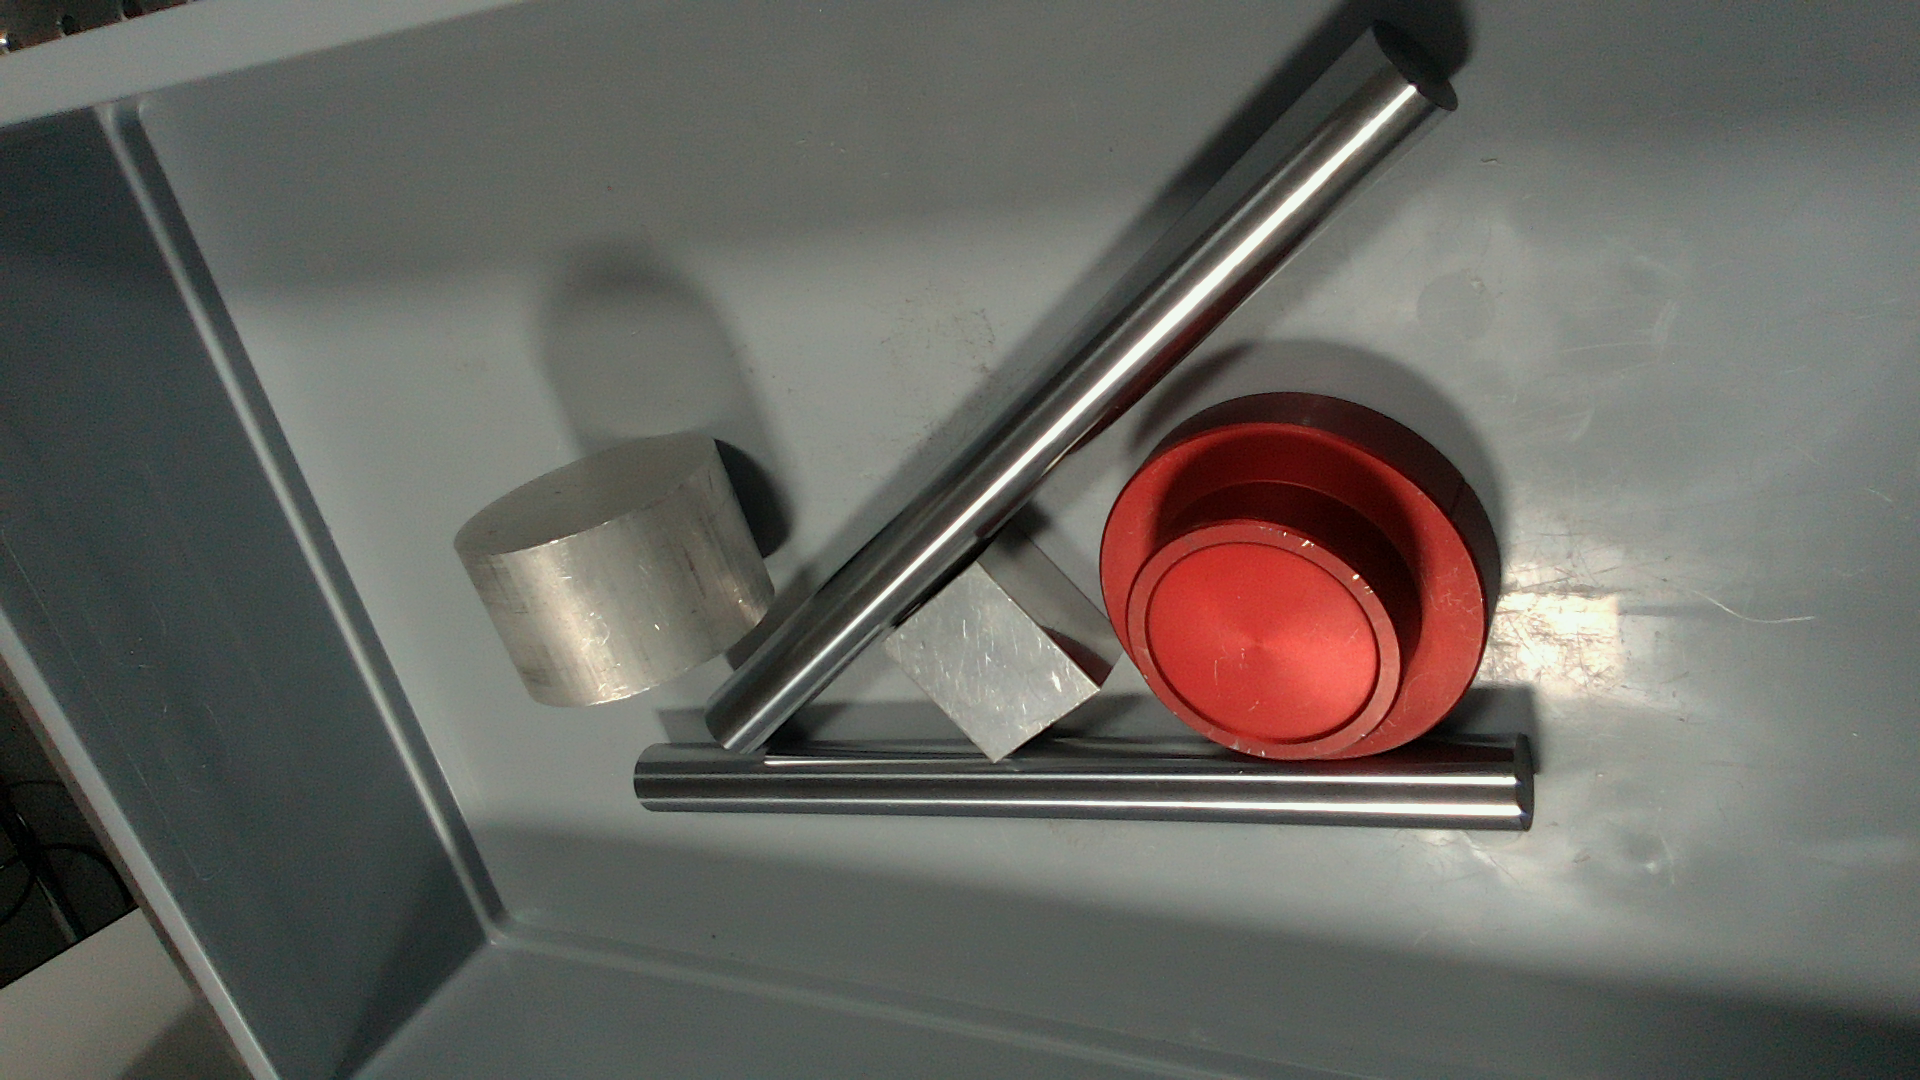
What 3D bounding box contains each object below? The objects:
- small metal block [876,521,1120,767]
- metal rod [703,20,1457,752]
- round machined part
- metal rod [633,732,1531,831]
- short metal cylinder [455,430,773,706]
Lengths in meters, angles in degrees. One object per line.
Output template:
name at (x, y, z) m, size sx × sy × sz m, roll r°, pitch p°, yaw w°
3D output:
small metal block at (0.012, 0.031, 0.403) m, size 0.050 × 0.025 × 0.050 m, roll 46°, pitch 129°, yaw -4°
metal rod at (0.008, -0.018, 0.376) m, size 0.025 × 0.025 × 0.299 m, roll 45°, pitch 129°, yaw -3°
round machined part at (0.080, 0.016, 0.346) m, size 0.098 × 0.042 × 0.098 m, roll 13°, pitch 124°, yaw 21°
metal rod at (0.017, 0.074, 0.429) m, size 0.299 × 0.025 × 0.025 m, roll -6°, pitch 116°, yaw 31°
short metal cylinder at (-0.103, 0.007, 0.416) m, size 0.080 × 0.080 × 0.050 m, roll -5°, pitch 116°, yaw 31°
